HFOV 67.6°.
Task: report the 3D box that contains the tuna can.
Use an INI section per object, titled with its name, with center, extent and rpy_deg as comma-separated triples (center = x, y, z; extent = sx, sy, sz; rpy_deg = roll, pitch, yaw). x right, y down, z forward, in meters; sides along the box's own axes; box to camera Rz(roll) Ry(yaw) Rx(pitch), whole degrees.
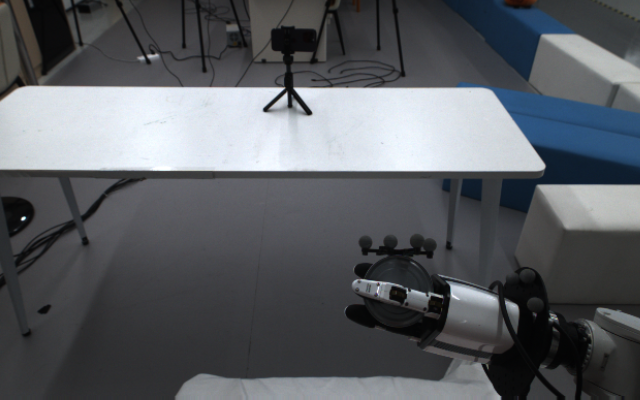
[tuna can]
center = 0.095, 0.110, 0.595
extent = 0.085, 0.034, 0.085
rpy_deg = -1, 75, 4
